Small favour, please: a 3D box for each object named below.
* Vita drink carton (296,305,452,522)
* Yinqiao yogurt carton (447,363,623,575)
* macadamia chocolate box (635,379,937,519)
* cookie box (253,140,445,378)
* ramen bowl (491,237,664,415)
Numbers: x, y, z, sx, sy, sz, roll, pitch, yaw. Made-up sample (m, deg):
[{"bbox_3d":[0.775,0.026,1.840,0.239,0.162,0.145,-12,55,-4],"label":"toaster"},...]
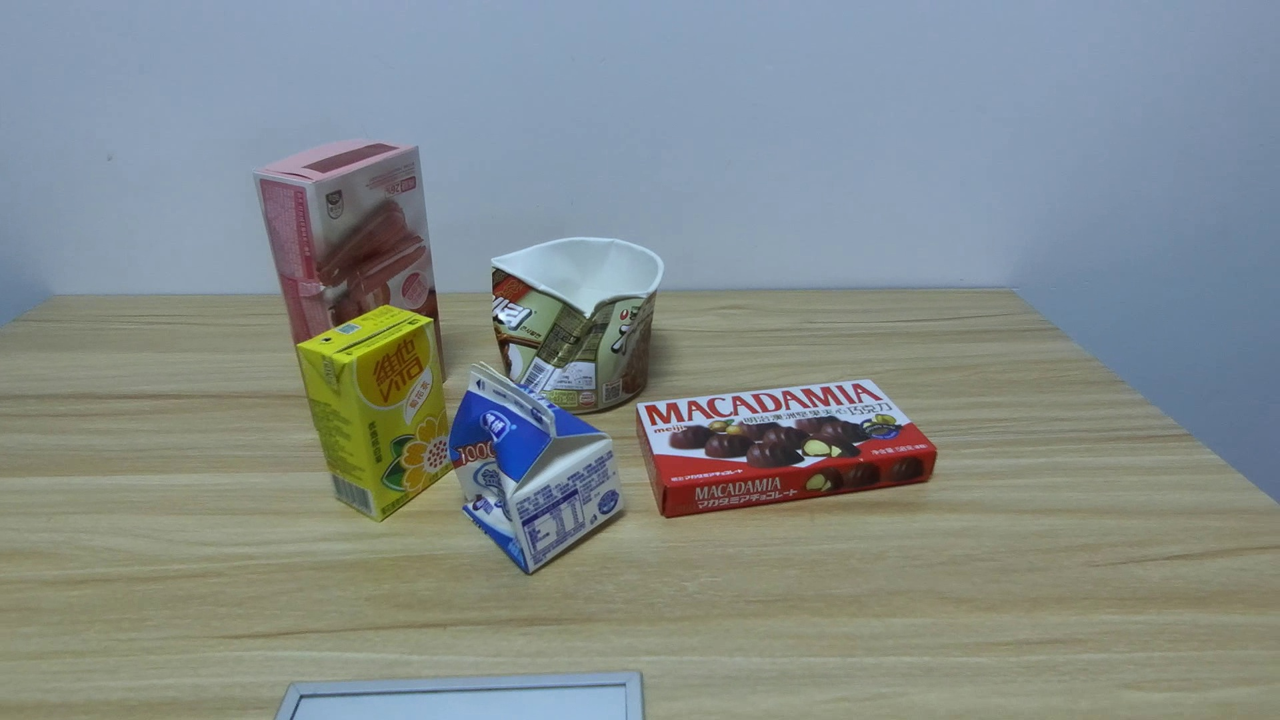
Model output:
[{"bbox_3d":[-0.155,0.030,0.425,0.043,0.109,0.067,16,33,26],"label":"Vita drink carton"},{"bbox_3d":[-0.062,0.052,0.401,0.071,0.094,0.077,-28,38,-34],"label":"Yinqiao yogurt carton"},{"bbox_3d":[0.091,0.054,0.468,0.178,0.027,0.095,-5,29,-10],"label":"macadamia chocolate box"},{"bbox_3d":[-0.188,-0.046,0.479,0.048,0.187,0.105,11,31,17],"label":"cookie box"},{"bbox_3d":[-0.041,-0.029,0.547,0.137,0.098,0.137,3,30,-1],"label":"ramen bowl"}]
